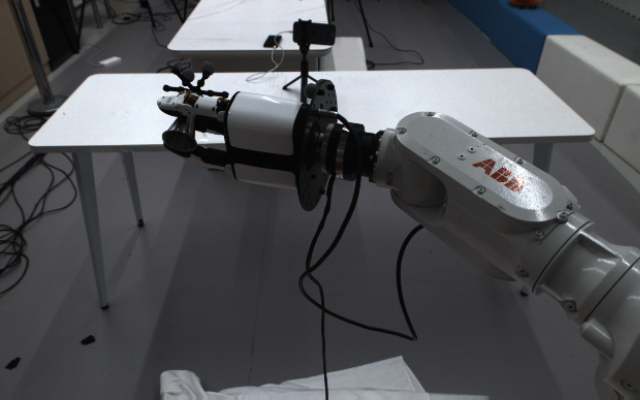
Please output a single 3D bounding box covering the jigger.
[{"bbox_3d":[-0.177,-0.103,0.628,0.043,0.043,0.071,6,61,6],"label":"jigger"}]
